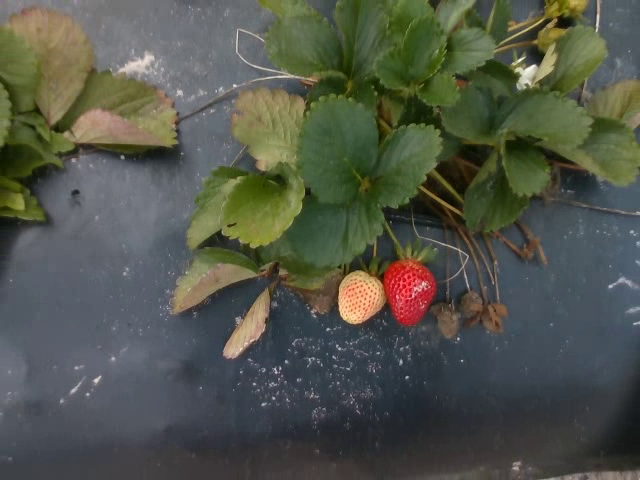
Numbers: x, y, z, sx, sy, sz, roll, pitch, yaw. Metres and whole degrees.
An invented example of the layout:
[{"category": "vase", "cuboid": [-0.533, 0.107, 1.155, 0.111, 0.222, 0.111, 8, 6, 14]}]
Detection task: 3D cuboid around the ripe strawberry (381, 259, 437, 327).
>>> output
[{"category": "ripe strawberry", "cuboid": [0.050, 0.030, 0.334, 0.034, 0.041, 0.033, 25, -33, -15]}]
